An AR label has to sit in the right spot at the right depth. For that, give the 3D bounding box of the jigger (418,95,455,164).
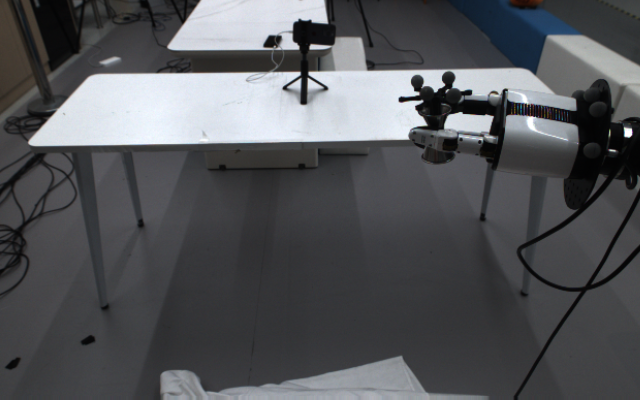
[{"bbox_3d":[0.153,-0.089,0.638,0.043,0.071,0.043,-9,31,5],"label":"jigger"}]
